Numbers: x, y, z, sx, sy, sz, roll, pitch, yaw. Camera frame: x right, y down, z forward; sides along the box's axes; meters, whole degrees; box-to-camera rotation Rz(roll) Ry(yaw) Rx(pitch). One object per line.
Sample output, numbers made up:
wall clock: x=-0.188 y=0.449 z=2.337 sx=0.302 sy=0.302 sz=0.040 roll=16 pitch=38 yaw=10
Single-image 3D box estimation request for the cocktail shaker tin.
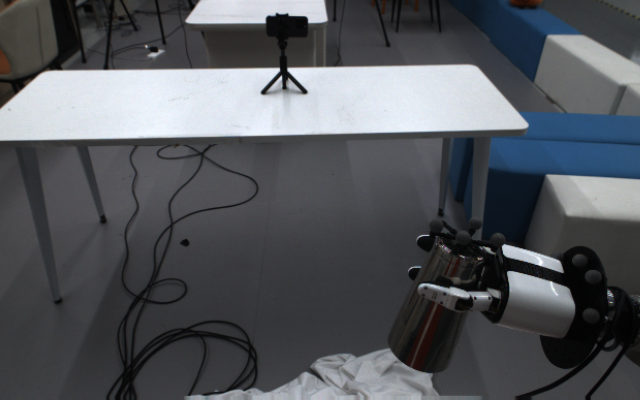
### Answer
cocktail shaker tin: x=0.161 y=0.128 z=0.645 sx=0.093 sy=0.170 sz=0.093 roll=12 pitch=25 yaw=-6
